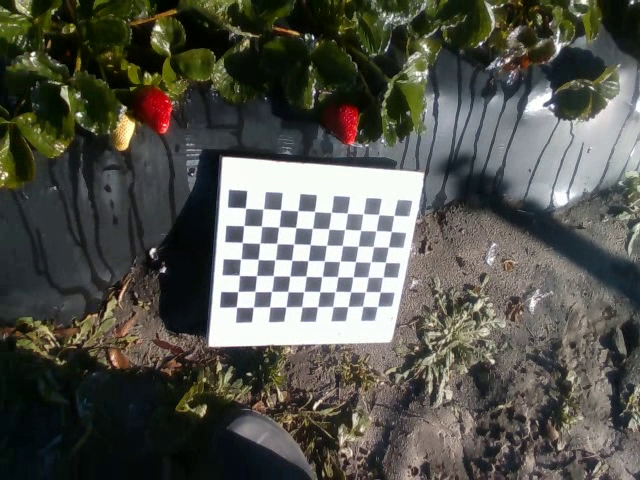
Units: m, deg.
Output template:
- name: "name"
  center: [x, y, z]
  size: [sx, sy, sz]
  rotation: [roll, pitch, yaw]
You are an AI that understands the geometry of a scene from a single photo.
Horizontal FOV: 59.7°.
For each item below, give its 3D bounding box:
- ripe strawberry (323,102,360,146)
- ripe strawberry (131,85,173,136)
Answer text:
- name: "ripe strawberry"
  center: [0.030, -0.149, 0.703]
  size: [0.048, 0.061, 0.044]
  rotation: [-5, -12, -17]
- name: "ripe strawberry"
  center: [-0.190, -0.145, 0.638]
  size: [0.042, 0.061, 0.046]
  rotation: [-12, -19, -14]
